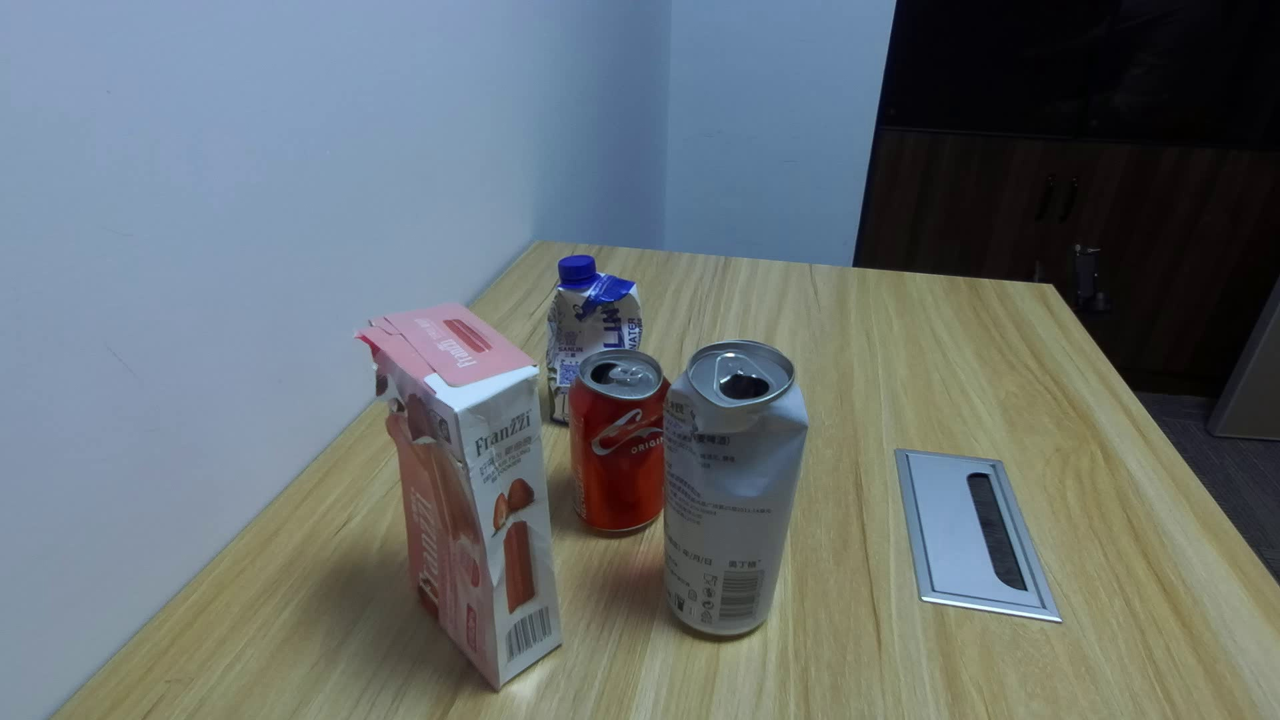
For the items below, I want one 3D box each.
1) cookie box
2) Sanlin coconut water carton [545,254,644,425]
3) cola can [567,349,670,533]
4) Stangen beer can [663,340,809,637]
[{"bbox_3d":[-0.091,0.075,0.372,0.060,0.186,0.104,-20,34,-36],"label":"cookie box"},{"bbox_3d":[-0.038,-0.010,0.563,0.068,0.145,0.057,18,35,16],"label":"Sanlin coconut water carton"},{"bbox_3d":[-0.011,0.053,0.480,0.072,0.117,0.065,-15,32,-23],"label":"cola can"},{"bbox_3d":[0.049,0.075,0.388,0.066,0.166,0.065,-8,31,-14],"label":"Stangen beer can"}]
